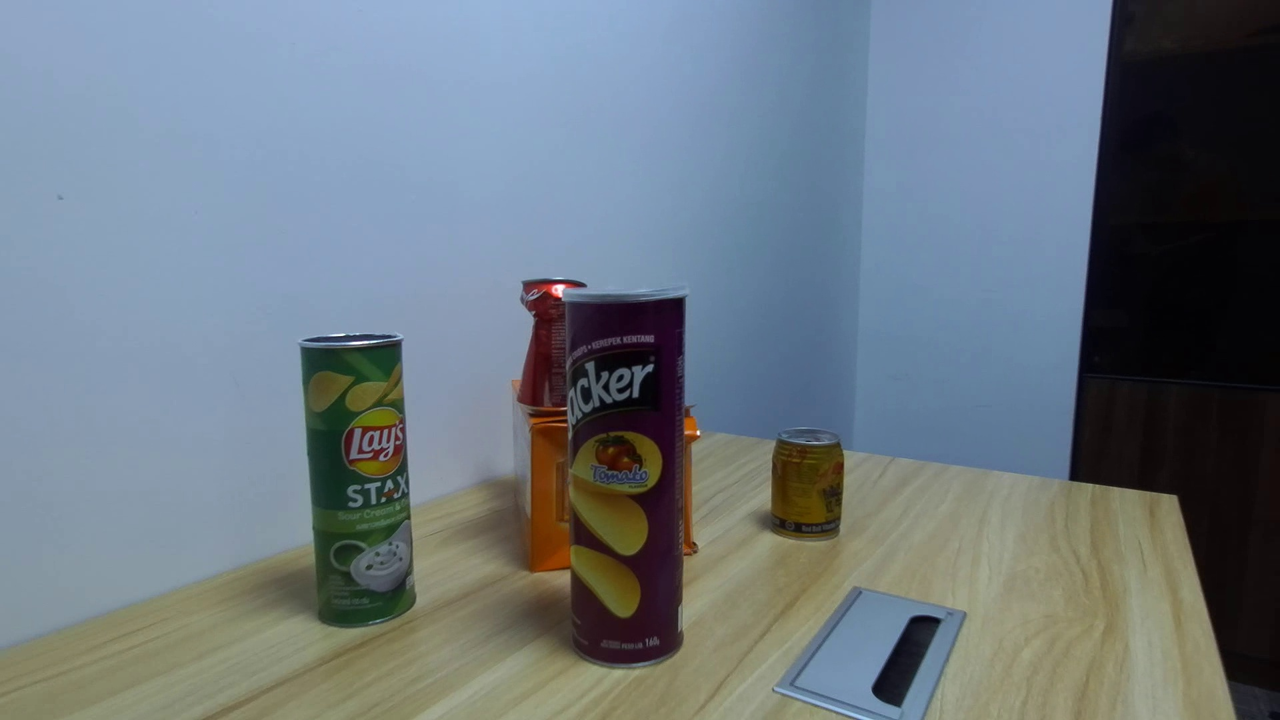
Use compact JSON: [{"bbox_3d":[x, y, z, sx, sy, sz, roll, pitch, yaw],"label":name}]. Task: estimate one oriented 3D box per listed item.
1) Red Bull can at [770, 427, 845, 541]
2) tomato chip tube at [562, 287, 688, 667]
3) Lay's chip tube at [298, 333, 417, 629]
[{"bbox_3d":[0.158,0.115,0.668,0.069,0.092,0.069,-1,9,0],"label":"Red Bull can"},{"bbox_3d":[-0.008,0.074,0.461,0.078,0.233,0.078,-1,8,0],"label":"tomato chip tube"},{"bbox_3d":[-0.203,0.084,0.515,0.071,0.202,0.071,0,8,0],"label":"Lay's chip tube"}]
